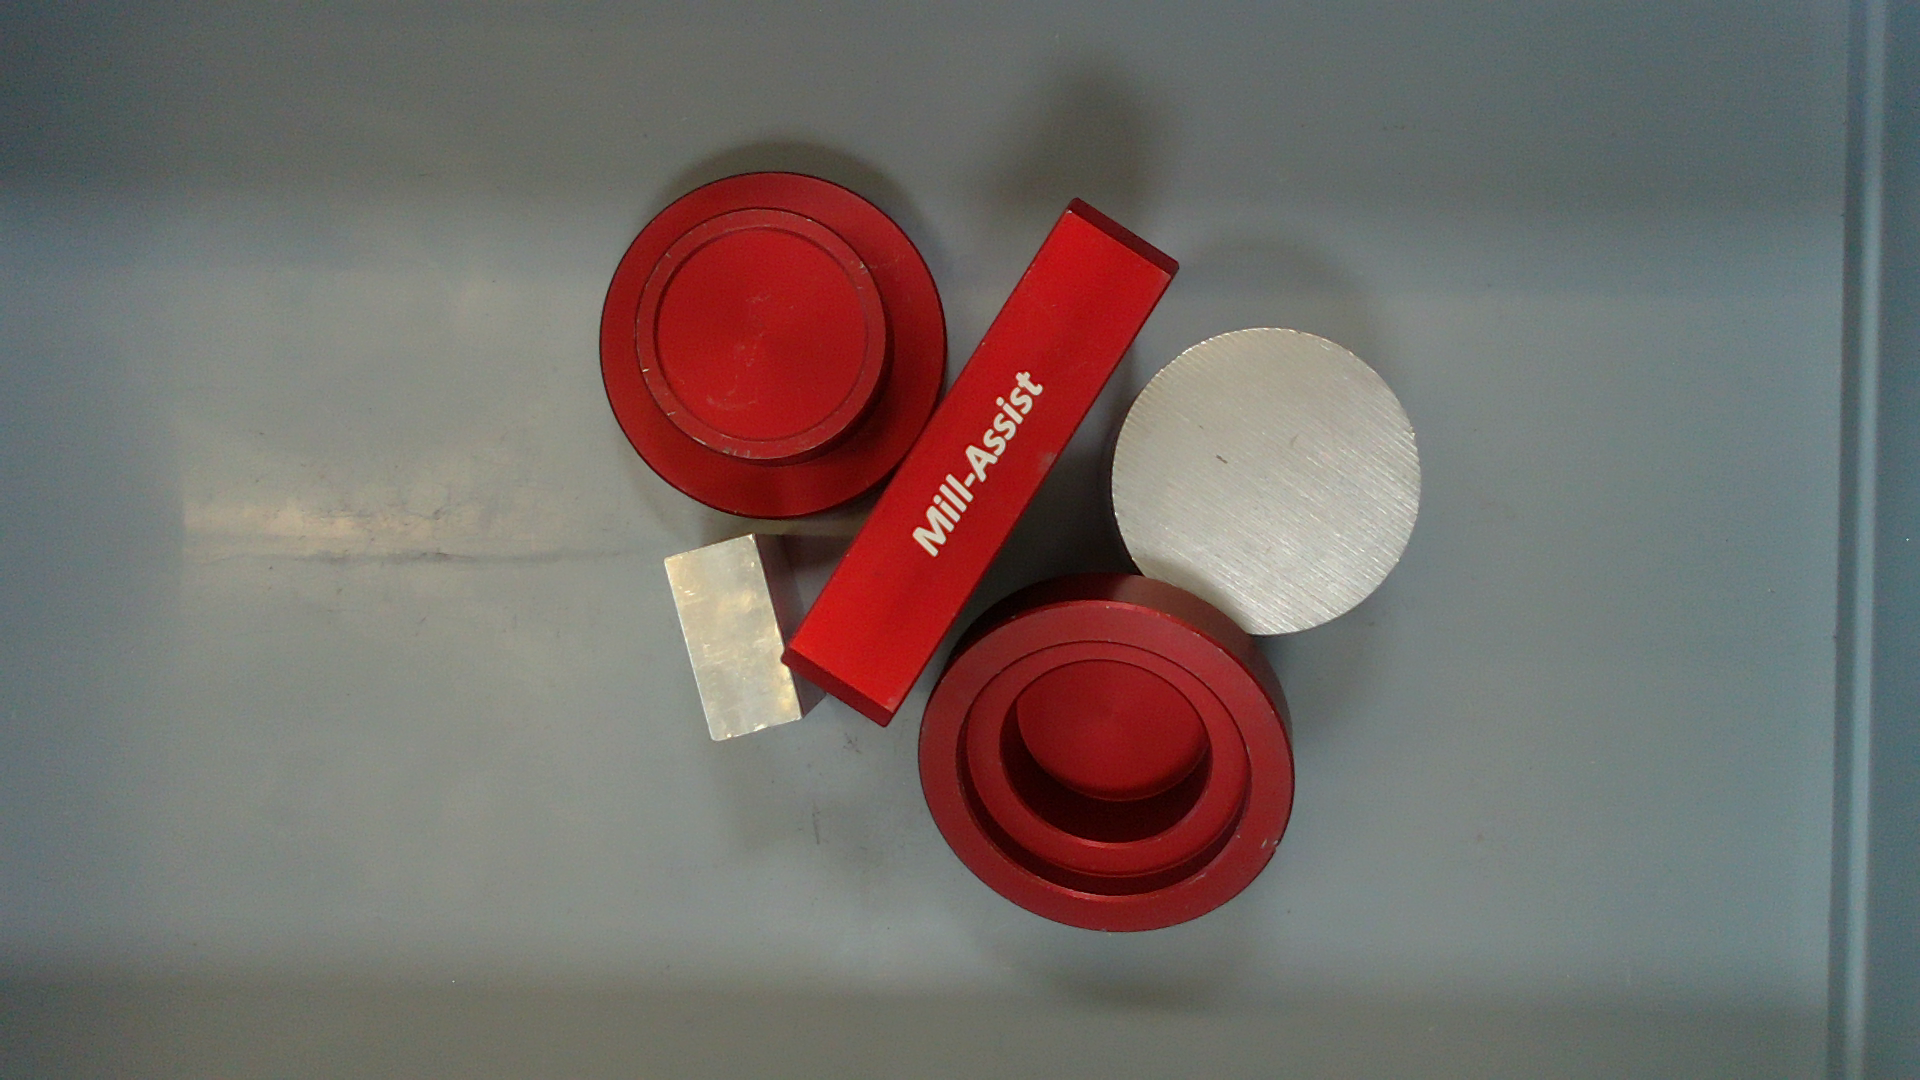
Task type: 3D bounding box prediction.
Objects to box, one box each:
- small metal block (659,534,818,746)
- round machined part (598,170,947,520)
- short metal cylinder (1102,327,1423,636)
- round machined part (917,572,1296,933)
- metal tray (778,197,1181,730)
[{"bbox_3d":[-0.059,0.026,0.381,0.025,0.050,0.050,-15,90,0],"label":"small metal block"},{"bbox_3d":[-0.053,-0.055,0.384,0.098,0.042,0.098,0,90,0],"label":"round machined part"},{"bbox_3d":[0.080,-0.015,0.382,0.080,0.050,0.080,0,90,0],"label":"short metal cylinder"},{"bbox_3d":[0.041,0.054,0.374,0.098,0.042,0.098,4,112,10],"label":"round machined part"},{"bbox_3d":[0.005,-0.018,0.361,0.030,0.090,0.130,33,90,0],"label":"metal tray"}]
